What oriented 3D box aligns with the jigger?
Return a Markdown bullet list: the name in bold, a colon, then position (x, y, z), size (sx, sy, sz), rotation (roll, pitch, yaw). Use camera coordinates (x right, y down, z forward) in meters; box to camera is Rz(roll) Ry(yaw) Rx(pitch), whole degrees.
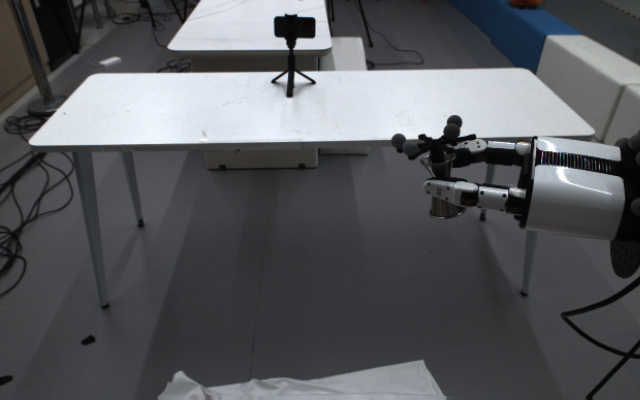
- **jigger**: position (0.143, -0.018, 0.565), size (0.043, 0.071, 0.043), rotation (-14, 21, 5)
